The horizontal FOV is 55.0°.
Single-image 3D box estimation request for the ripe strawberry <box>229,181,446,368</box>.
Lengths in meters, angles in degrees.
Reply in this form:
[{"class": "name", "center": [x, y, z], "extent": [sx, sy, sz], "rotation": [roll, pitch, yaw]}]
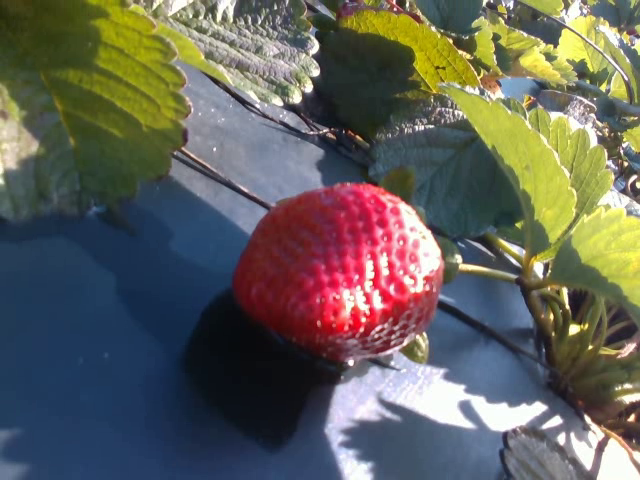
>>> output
[{"class": "ripe strawberry", "center": [0.002, 0.008, 0.114], "extent": [0.045, 0.042, 0.055], "rotation": [-11, 8, 21]}]
